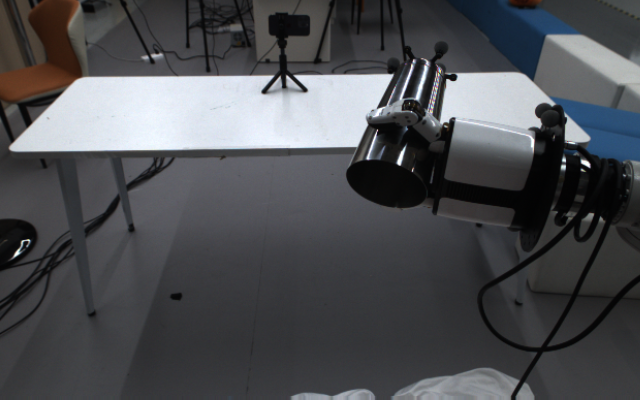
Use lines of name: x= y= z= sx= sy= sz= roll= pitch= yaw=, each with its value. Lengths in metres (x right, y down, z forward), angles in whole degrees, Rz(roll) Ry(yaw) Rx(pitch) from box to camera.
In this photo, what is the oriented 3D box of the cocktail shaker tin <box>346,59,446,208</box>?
cocktail shaker tin: x=0.100 y=-0.086 z=0.574 sx=0.093 sy=0.093 sz=0.170 roll=13 pitch=60 yaw=16
